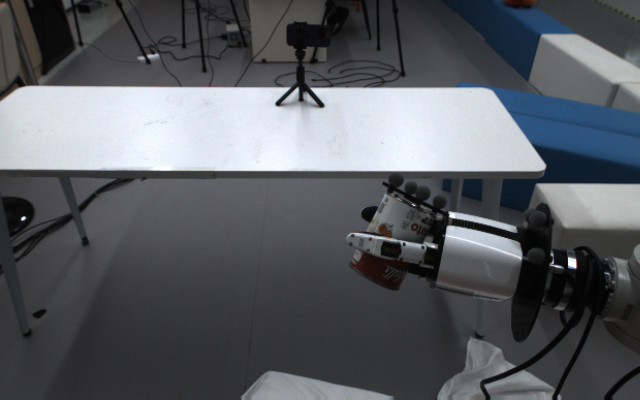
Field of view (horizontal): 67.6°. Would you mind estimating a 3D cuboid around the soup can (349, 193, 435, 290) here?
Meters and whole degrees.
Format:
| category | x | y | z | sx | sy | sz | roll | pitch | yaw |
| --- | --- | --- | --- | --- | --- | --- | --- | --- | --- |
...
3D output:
| category | x | y | z | sx | sy | sz | roll | pitch | yaw |
| --- | --- | --- | --- | --- | --- | --- | --- | --- | --- |
| soup can | 0.089 | 0.048 | 0.580 | 0.067 | 0.101 | 0.067 | 26 | 5 | -3 |
